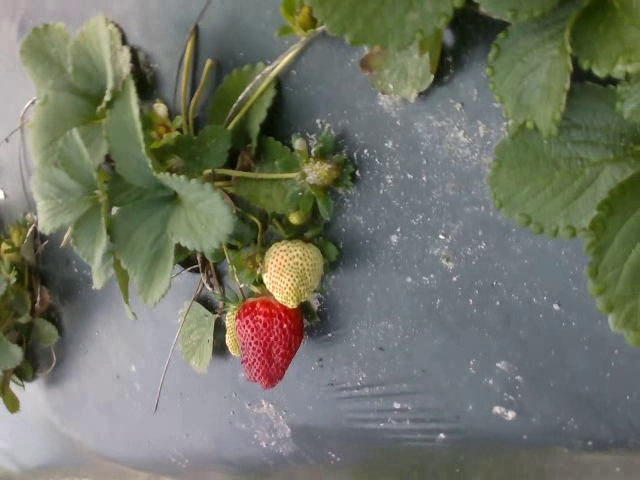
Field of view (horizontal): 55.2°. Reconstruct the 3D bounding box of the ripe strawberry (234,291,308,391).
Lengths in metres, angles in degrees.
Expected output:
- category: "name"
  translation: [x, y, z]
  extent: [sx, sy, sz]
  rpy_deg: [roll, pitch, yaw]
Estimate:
- category: "ripe strawberry"
  translation: [-0.027, 0.059, 0.347]
  extent: [0.045, 0.059, 0.046]
  rpy_deg: [15, -20, -35]
